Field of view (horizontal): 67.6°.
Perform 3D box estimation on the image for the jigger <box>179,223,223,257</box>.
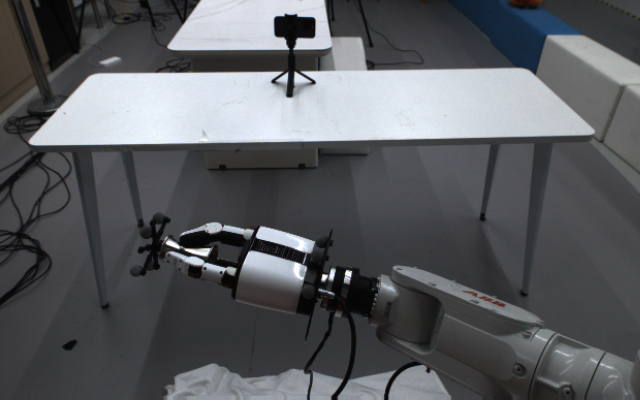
[{"bbox_3d":[-0.175,0.073,0.671,0.071,0.043,0.043,13,36,5],"label":"jigger"}]
